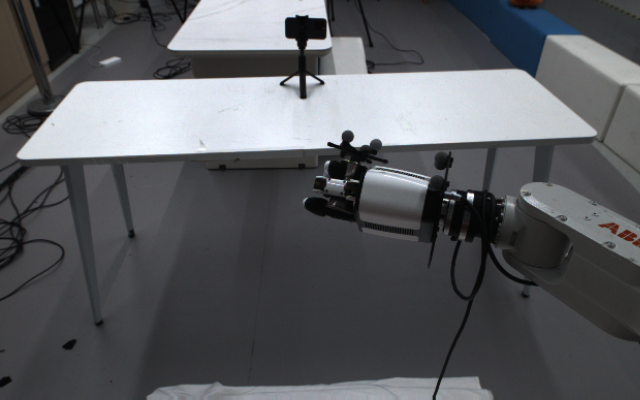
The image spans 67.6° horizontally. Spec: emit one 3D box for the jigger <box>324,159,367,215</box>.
[{"bbox_3d":[0.038,-0.019,0.678,0.043,0.071,0.043,19,-6,2],"label":"jigger"}]
